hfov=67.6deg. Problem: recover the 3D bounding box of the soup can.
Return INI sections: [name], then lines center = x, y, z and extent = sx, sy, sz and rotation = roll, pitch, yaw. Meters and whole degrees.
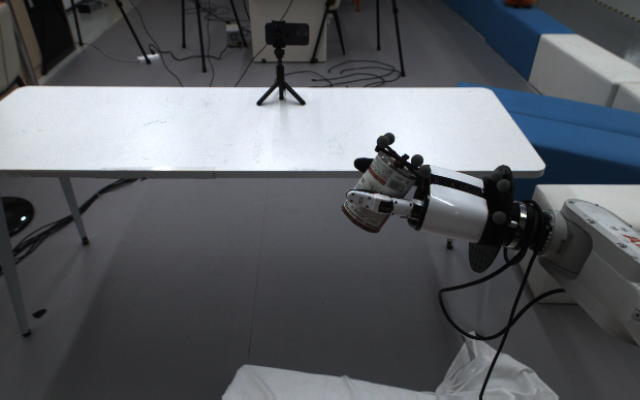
[soup can]
center = 0.086, -0.012, 0.698
extent = 0.067, 0.101, 0.067
rotation = 28, 22, -12
